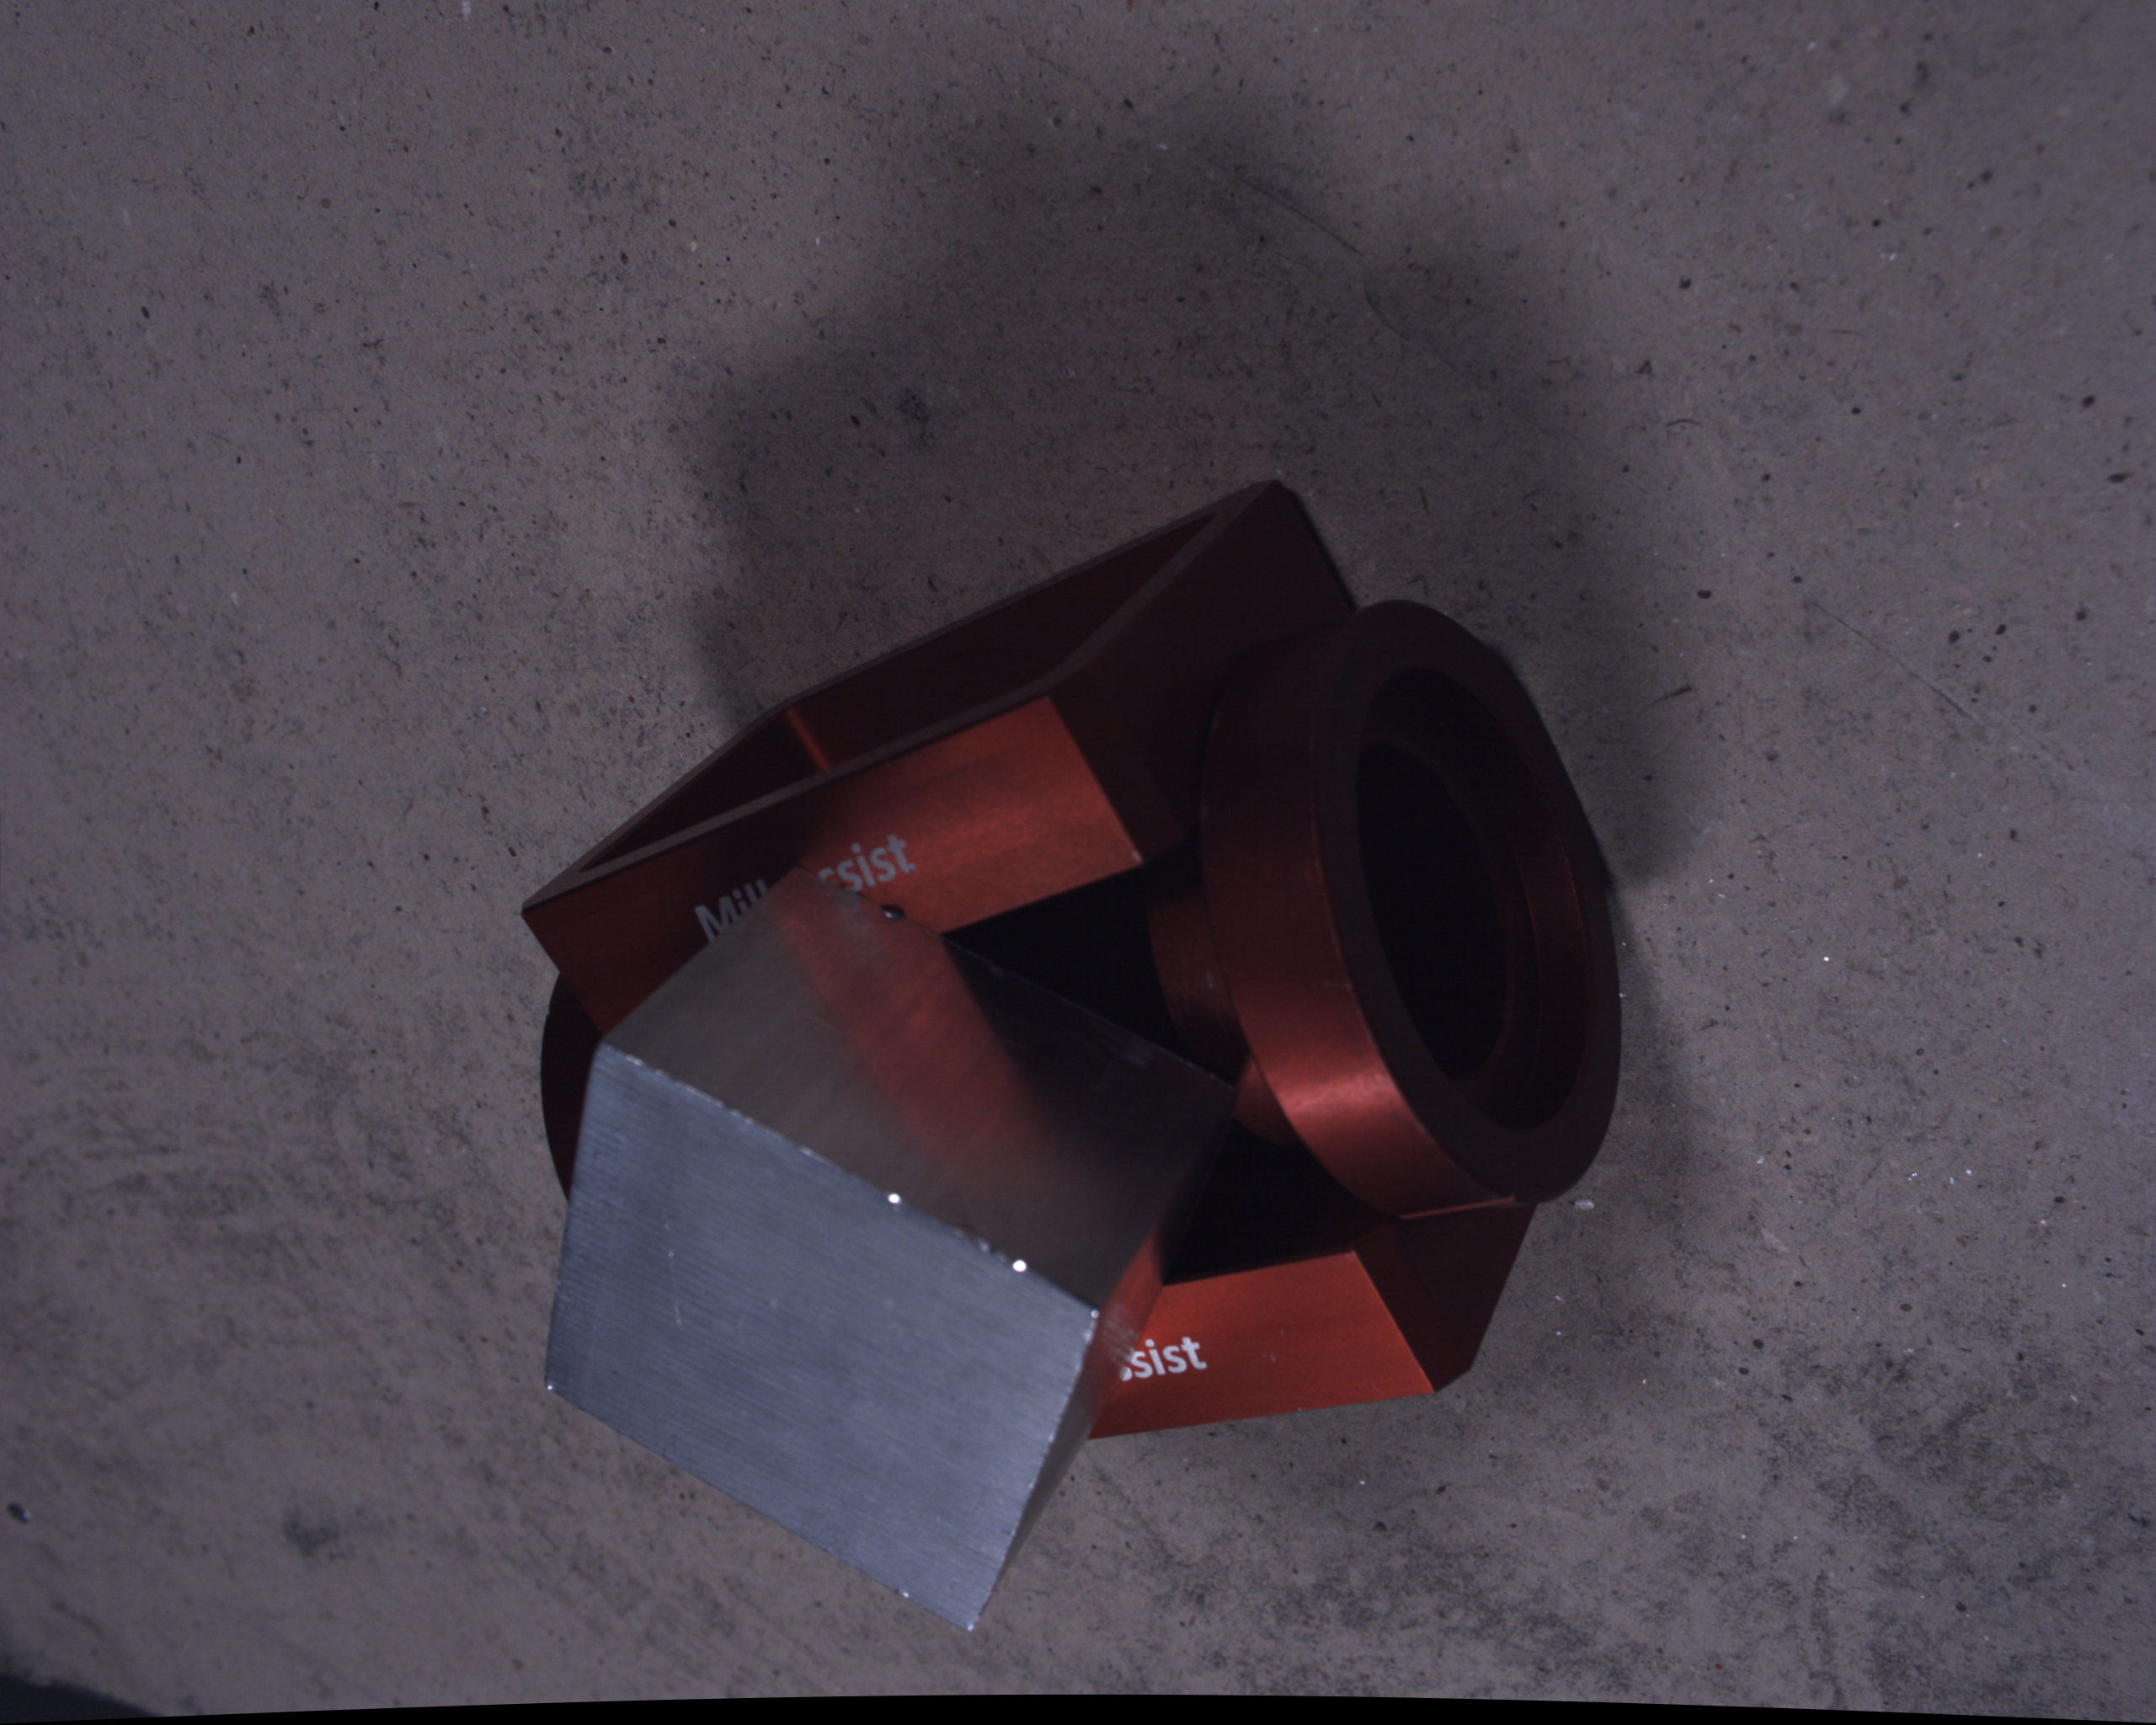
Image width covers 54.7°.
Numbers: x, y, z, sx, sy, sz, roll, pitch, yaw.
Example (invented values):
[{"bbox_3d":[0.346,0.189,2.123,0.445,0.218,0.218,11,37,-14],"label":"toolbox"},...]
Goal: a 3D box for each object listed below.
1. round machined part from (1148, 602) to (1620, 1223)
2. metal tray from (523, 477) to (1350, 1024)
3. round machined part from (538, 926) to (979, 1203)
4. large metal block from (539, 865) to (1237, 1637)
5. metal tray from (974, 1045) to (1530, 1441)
[{"bbox_3d":[0.048,0.010,0.341,0.042,0.098,0.098,-17,110,34],"label":"round machined part"},{"bbox_3d":[-0.025,-0.018,0.368,0.130,0.090,0.030,-19,108,35],"label":"metal tray"},{"bbox_3d":[-0.055,0.044,0.415,0.042,0.098,0.098,-17,110,34],"label":"round machined part"},{"bbox_3d":[-0.032,0.060,0.325,0.080,0.050,0.079,26,128,11],"label":"large metal block"},{"bbox_3d":[0.021,0.067,0.394,0.130,0.090,0.030,-19,109,35],"label":"metal tray"}]
